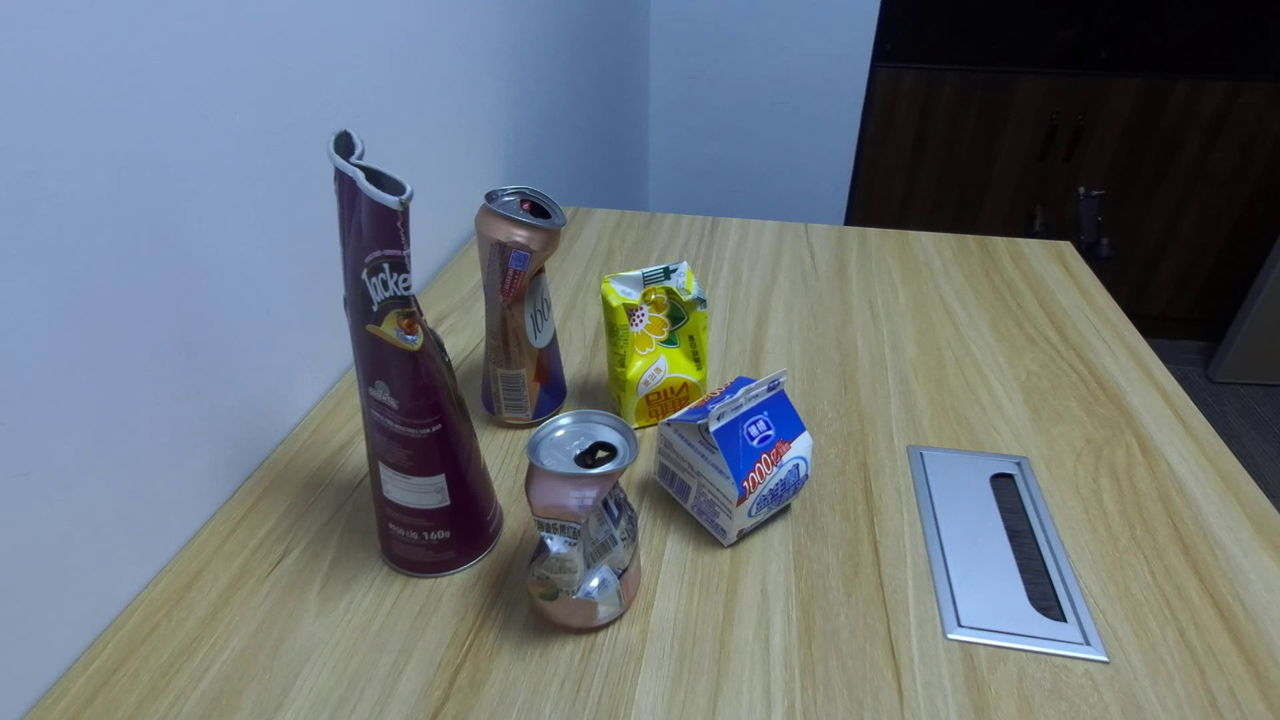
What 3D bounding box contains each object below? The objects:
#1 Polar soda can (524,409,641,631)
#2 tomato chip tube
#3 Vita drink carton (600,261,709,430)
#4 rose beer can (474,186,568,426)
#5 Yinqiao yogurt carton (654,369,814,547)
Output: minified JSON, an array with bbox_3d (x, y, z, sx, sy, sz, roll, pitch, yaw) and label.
[{"bbox_3d":[-0.031,0.083,0.373,0.070,0.114,0.074,-15,40,-29],"label":"Polar soda can"},{"bbox_3d":[-0.123,0.011,0.379,0.078,0.236,0.090,5,31,9],"label":"tomato chip tube"},{"bbox_3d":[0.013,-0.009,0.510,0.071,0.110,0.046,-12,32,-15],"label":"Vita drink carton"},{"bbox_3d":[-0.086,-0.034,0.503,0.070,0.168,0.069,-21,39,-36],"label":"rose beer can"},{"bbox_3d":[0.062,0.051,0.432,0.075,0.097,0.080,-26,49,-33],"label":"Yinqiao yogurt carton"}]
